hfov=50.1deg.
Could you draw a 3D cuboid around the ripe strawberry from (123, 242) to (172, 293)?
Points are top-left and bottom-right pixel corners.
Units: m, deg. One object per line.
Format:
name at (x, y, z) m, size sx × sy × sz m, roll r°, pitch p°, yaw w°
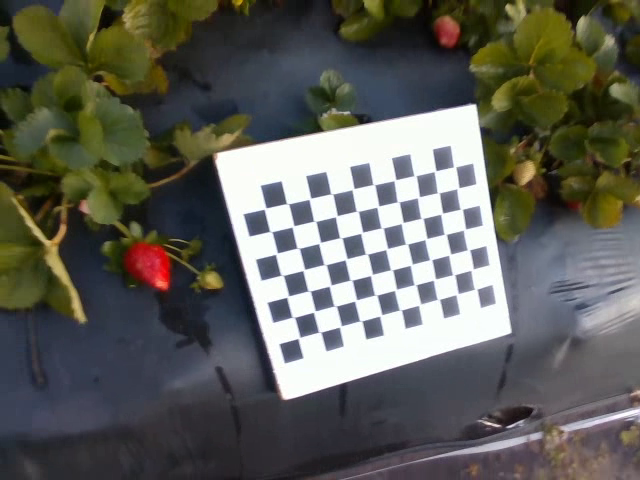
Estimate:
ripe strawberry at (-0.161, 0.030, 0.638) m, size 0.057 × 0.043 × 0.052 m, roll 45°, pitch -10°, yaw 43°
